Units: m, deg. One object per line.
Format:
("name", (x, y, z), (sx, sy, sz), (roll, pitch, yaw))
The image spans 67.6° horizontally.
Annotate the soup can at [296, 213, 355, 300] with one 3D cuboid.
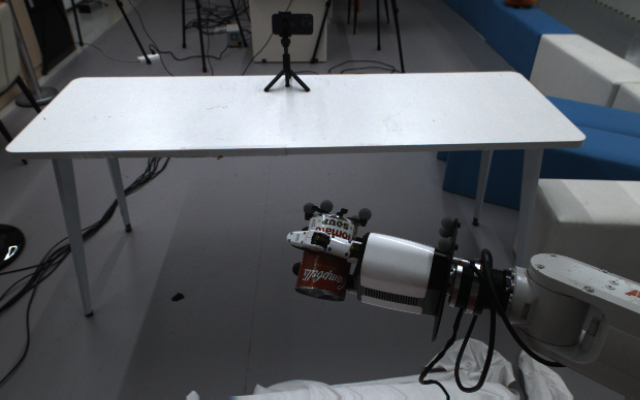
("soup can", (0.011, 0.077, 0.641), (0.067, 0.067, 0.101), (9, 71, 9))
